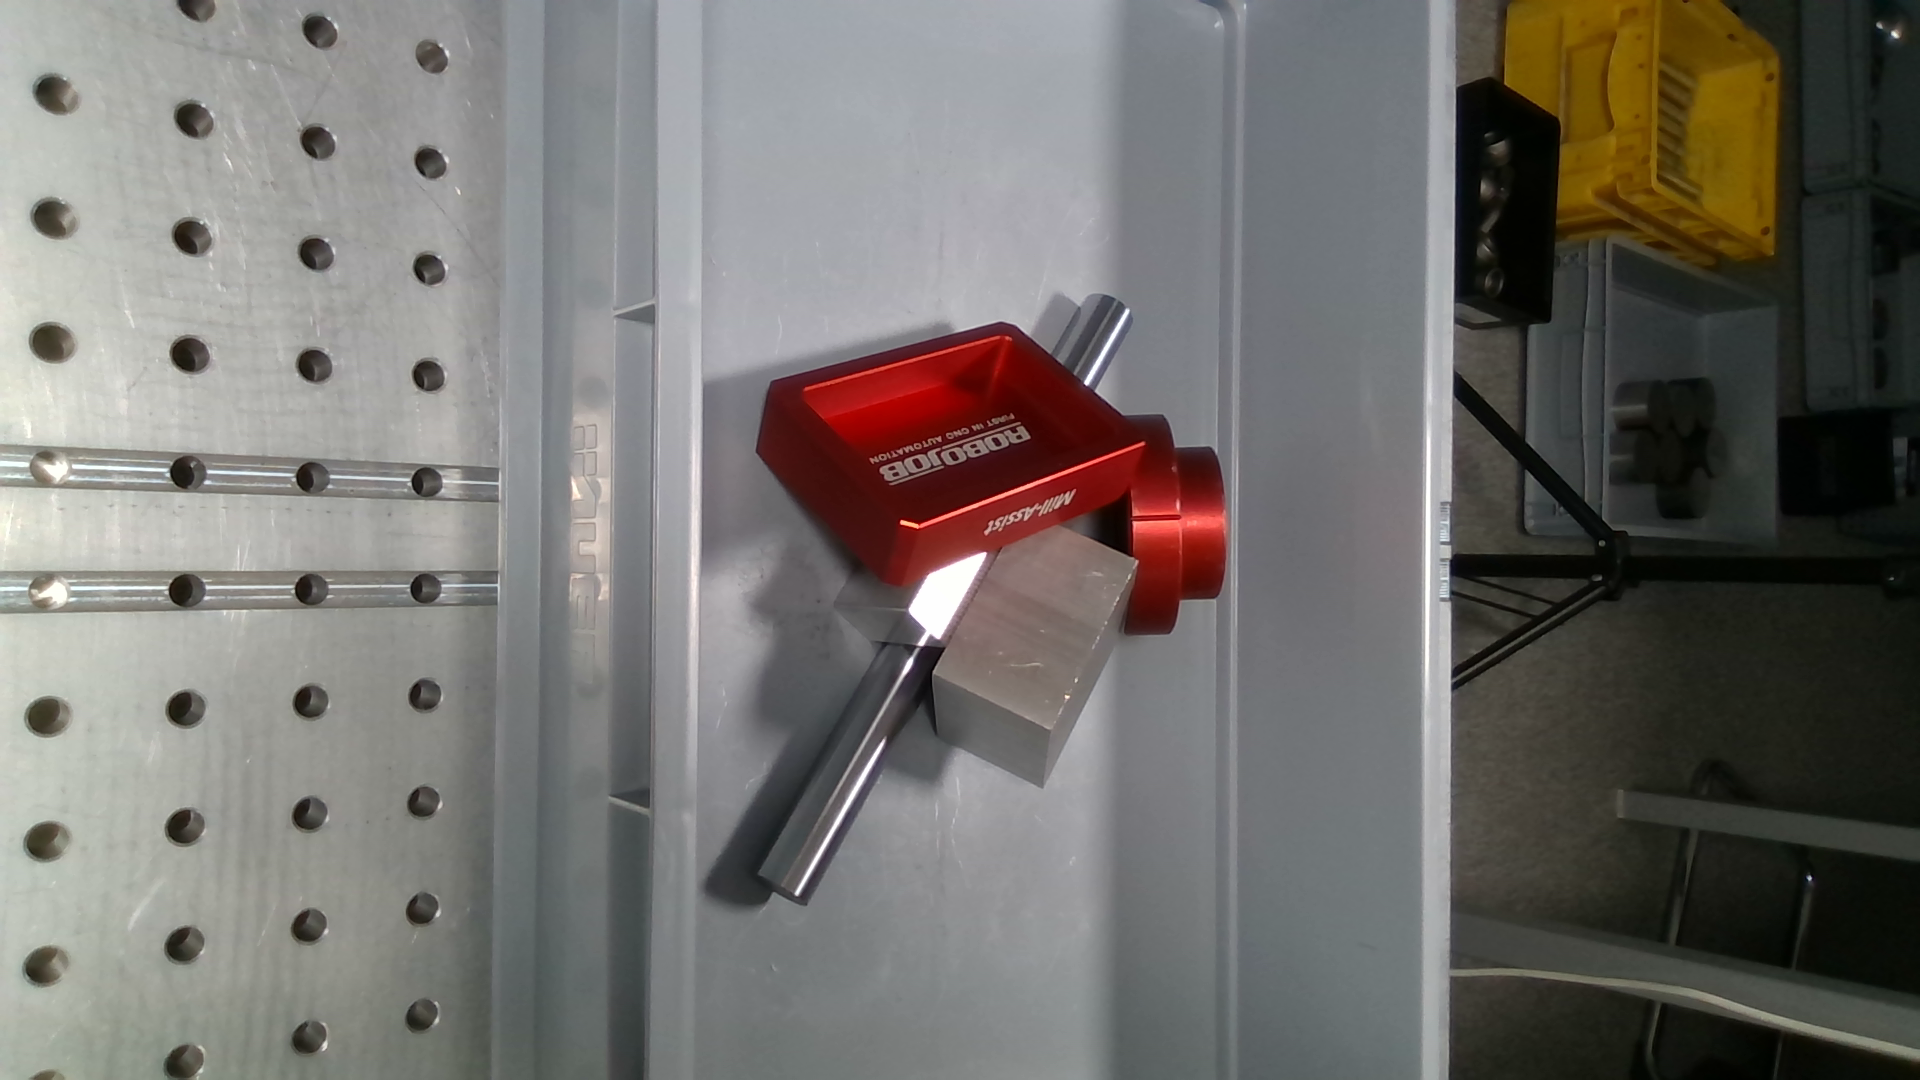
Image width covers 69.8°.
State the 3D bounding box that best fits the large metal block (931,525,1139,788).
[{"bbox_3d":[0.030,0.046,0.565,0.080,0.050,0.080,-60,167,-23],"label":"large metal block"}]

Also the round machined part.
[{"bbox_3d":[0.091,-0.007,0.609,0.042,0.098,0.098,-1,91,0],"label":"round machined part"}]

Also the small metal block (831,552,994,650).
[{"bbox_3d":[-0.016,0.015,0.551,0.025,0.050,0.050,46,63,-31],"label":"small metal block"}]

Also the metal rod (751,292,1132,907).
[{"bbox_3d":[0.000,0.014,0.582,0.025,0.025,0.299,44,63,-31],"label":"metal rod"}]

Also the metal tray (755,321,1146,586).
[{"bbox_3d":[-0.002,-0.039,0.539,0.130,0.090,0.030,-21,144,-38],"label":"metal tray"}]
